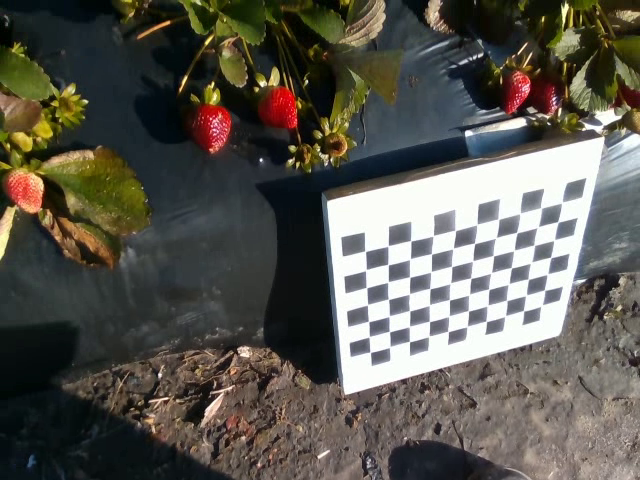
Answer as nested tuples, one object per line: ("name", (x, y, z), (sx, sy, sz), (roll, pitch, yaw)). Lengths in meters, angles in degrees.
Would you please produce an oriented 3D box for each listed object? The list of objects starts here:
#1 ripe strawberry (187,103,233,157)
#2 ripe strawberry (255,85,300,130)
("ripe strawberry", (-0.105, -0.099, 0.535), (0.051, 0.050, 0.044), (1, -32, -21))
("ripe strawberry", (-0.037, -0.121, 0.548), (0.042, 0.049, 0.039), (-47, -27, 19))
